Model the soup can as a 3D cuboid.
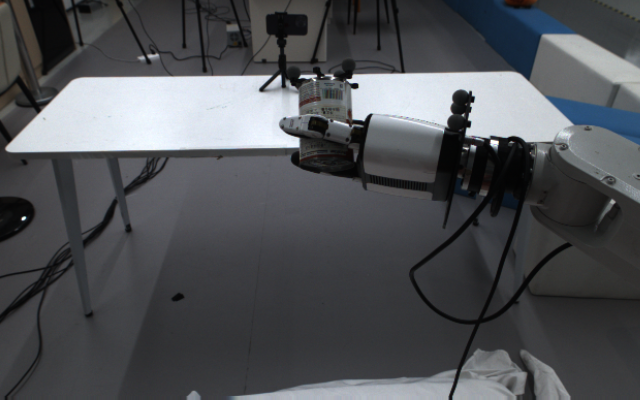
[{"bbox_3d":[0.008,-0.090,0.591,0.067,0.101,0.067,-1,-9,0],"label":"soup can"}]
